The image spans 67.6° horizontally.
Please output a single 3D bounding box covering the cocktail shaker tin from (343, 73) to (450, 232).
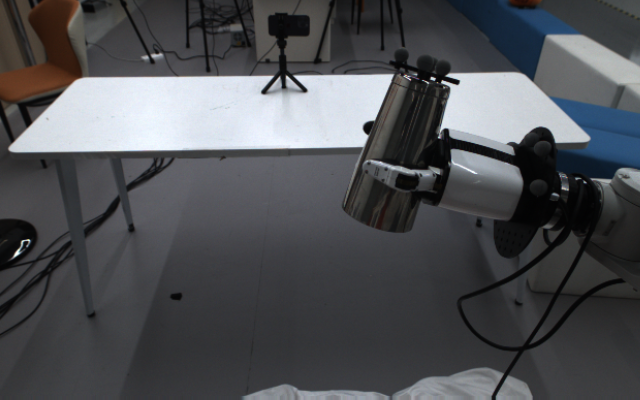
[{"bbox_3d":[0.094,-0.059,0.573,0.093,0.170,0.093,15,20,-5],"label":"cocktail shaker tin"}]
